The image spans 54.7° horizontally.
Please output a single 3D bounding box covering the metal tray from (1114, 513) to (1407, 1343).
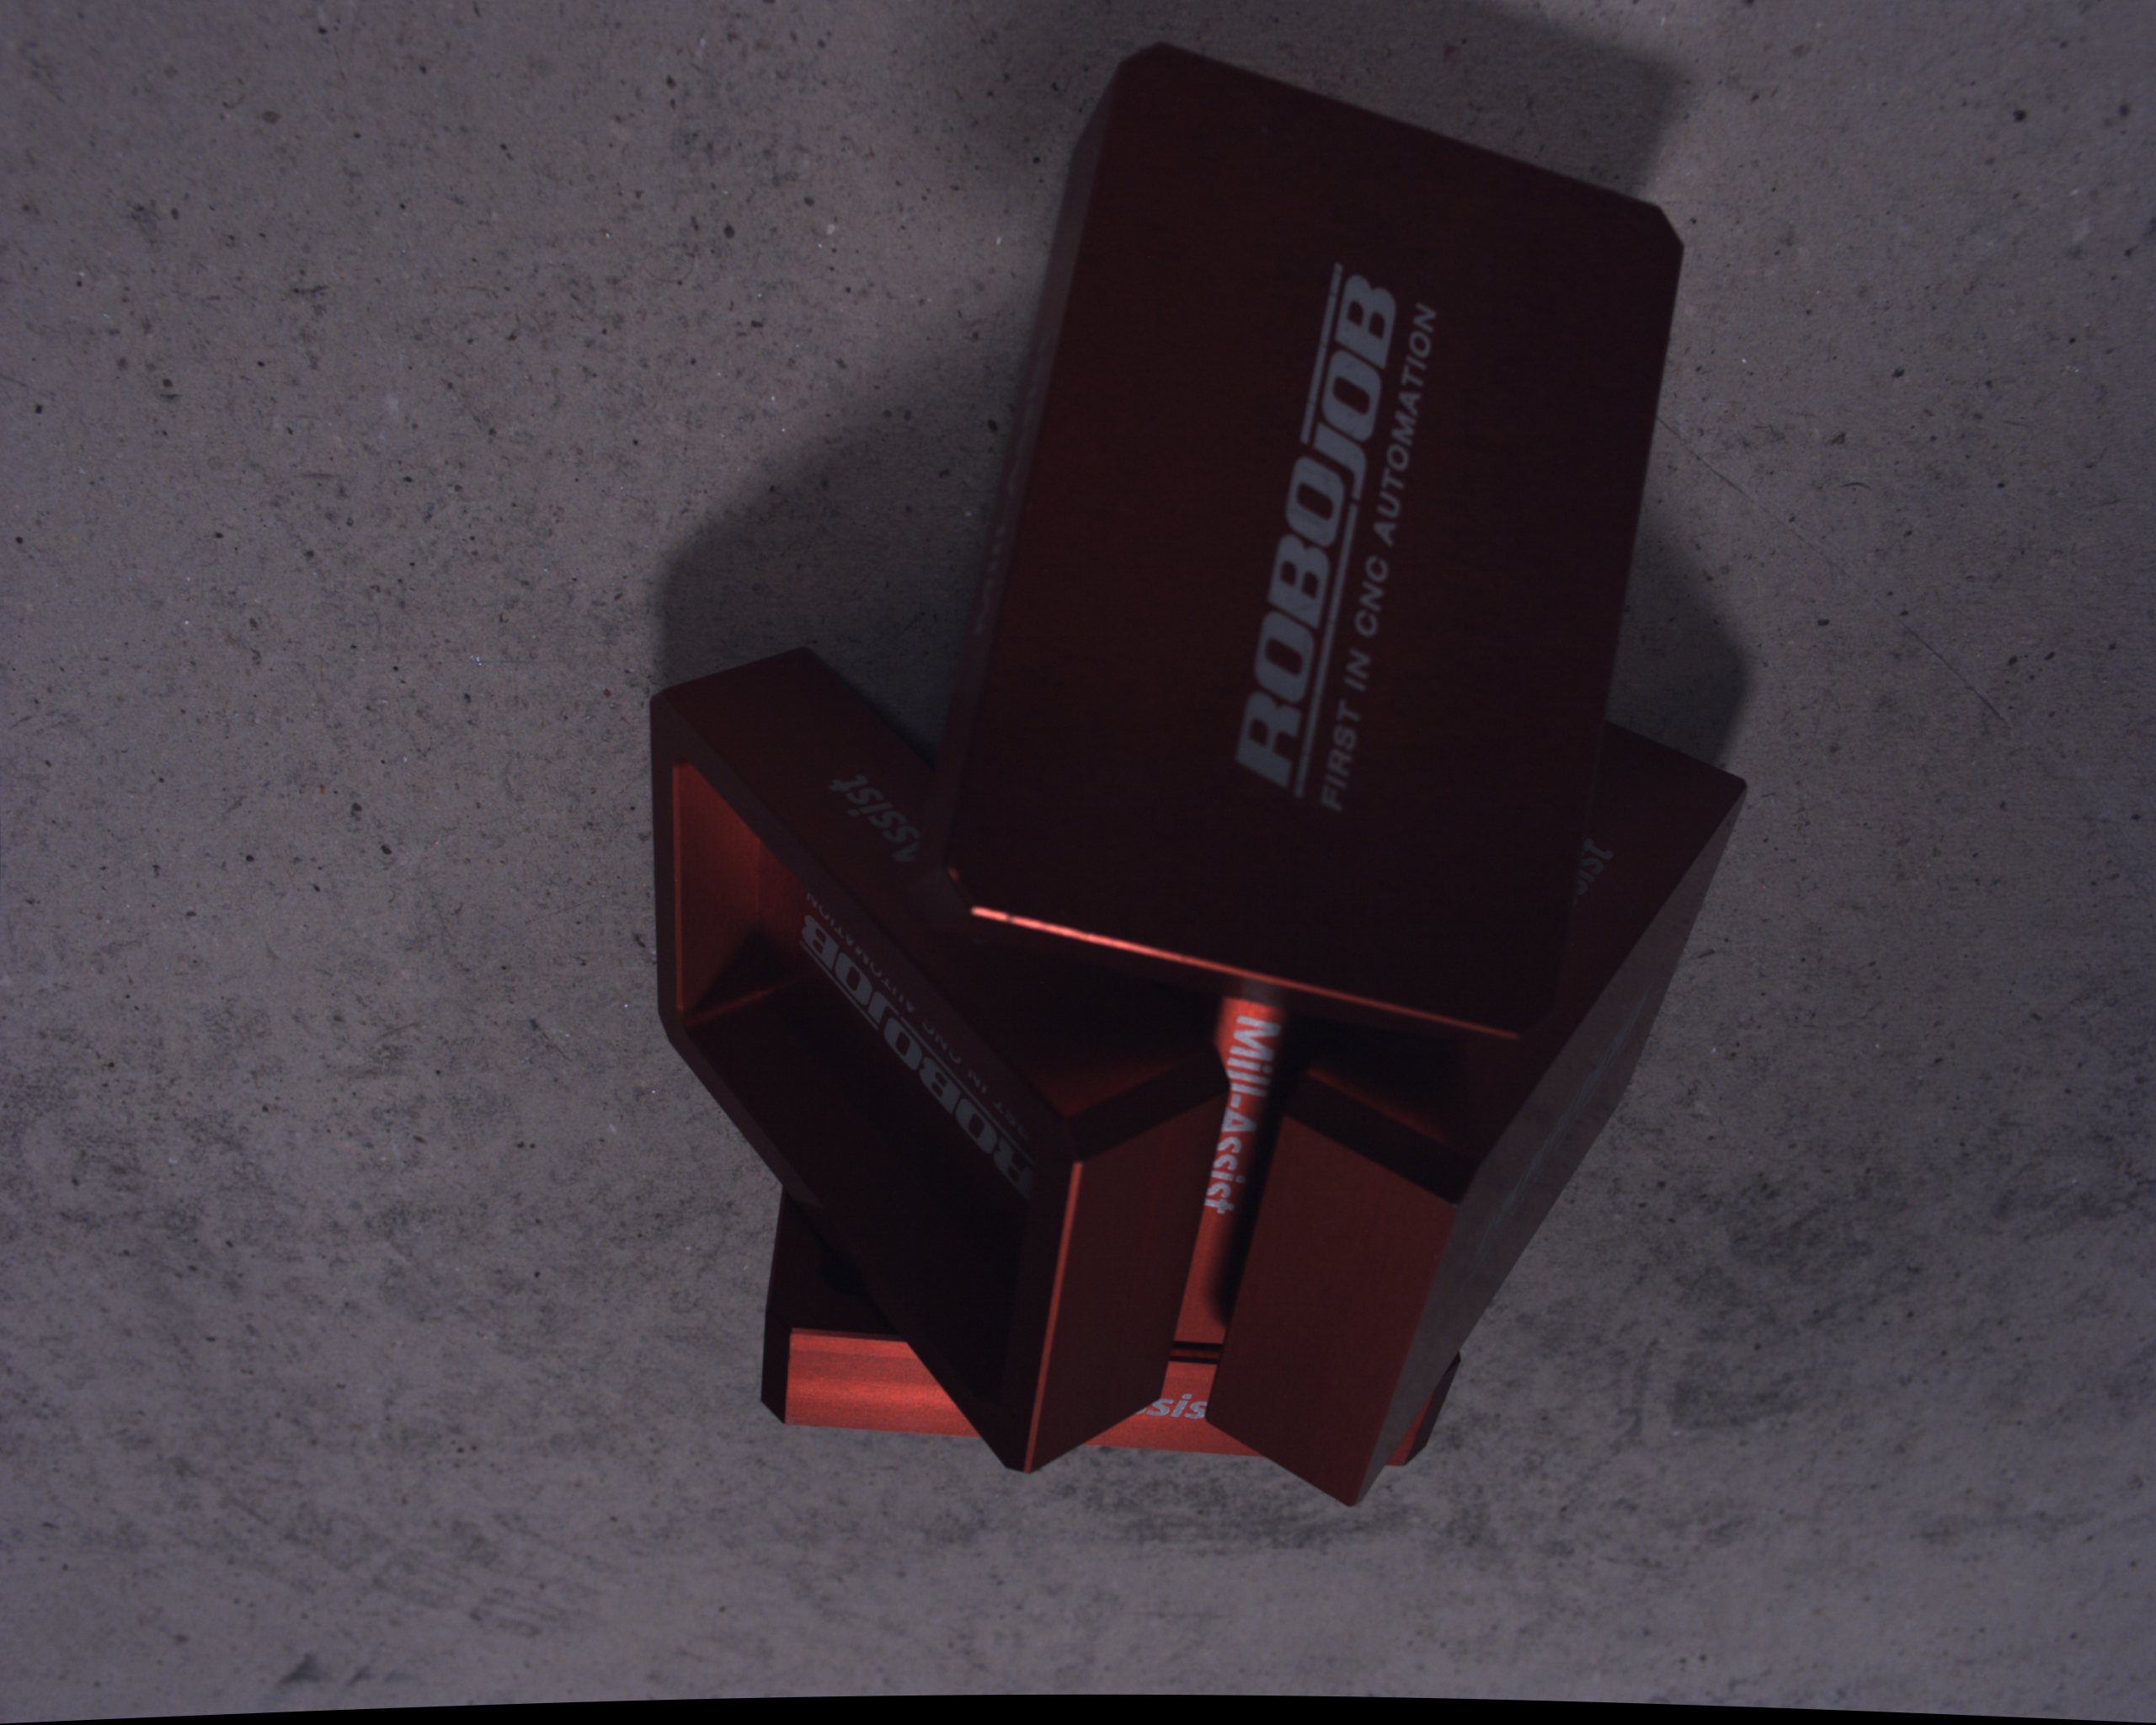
[{"bbox_3d":[0.025,0.013,0.377,0.030,0.090,0.129,5,130,-5],"label":"metal tray"}]

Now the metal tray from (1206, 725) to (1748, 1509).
[{"bbox_3d":[0.075,0.042,0.380,0.030,0.131,0.089,27,134,21],"label":"metal tray"}]

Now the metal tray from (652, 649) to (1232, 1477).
[{"bbox_3d":[-0.031,0.033,0.373,0.030,0.130,0.089,-22,138,-31],"label":"metal tray"}]

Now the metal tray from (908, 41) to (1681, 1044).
[{"bbox_3d":[0.033,-0.045,0.310,0.091,0.129,0.030,14,170,-12],"label":"metal tray"}]

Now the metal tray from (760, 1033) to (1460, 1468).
[{"bbox_3d":[0.005,0.074,0.428,0.131,0.090,0.030,5,130,-5],"label":"metal tray"}]
